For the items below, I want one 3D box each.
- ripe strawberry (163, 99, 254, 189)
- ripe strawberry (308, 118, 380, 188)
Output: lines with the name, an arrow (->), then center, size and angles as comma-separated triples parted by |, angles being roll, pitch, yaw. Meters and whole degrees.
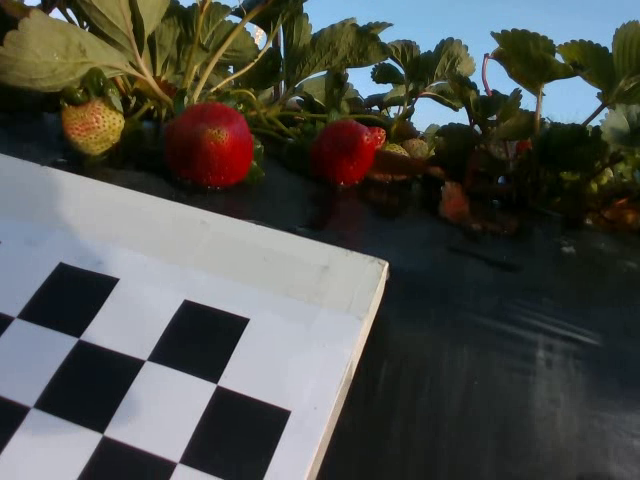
ripe strawberry -> -0.057, -0.053, 0.303 | 0.050, 0.050, 0.065 | -18, -1, -10
ripe strawberry -> 0.015, -0.052, 0.351 | 0.044, 0.042, 0.055 | -38, 10, -23
